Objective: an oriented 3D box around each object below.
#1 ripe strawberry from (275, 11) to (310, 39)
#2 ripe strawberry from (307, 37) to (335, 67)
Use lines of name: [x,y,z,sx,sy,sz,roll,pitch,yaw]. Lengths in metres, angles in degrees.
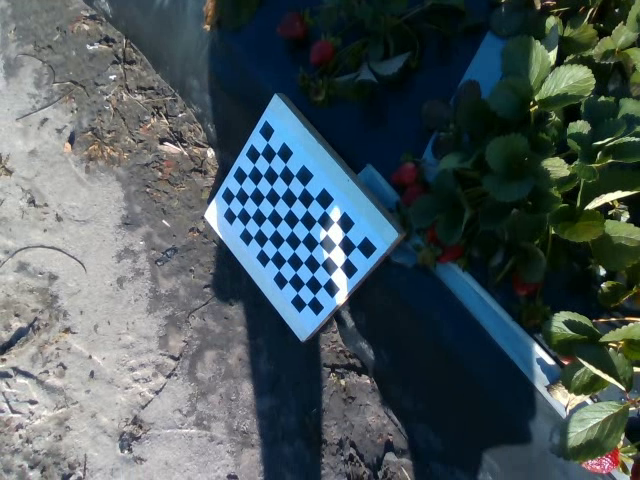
ripe strawberry: [-0.050,-0.338,0.917,0.050,0.050,0.045,-24,-5,-27]
ripe strawberry: [0.000,-0.287,0.898,0.042,0.039,0.049,8,44,39]
